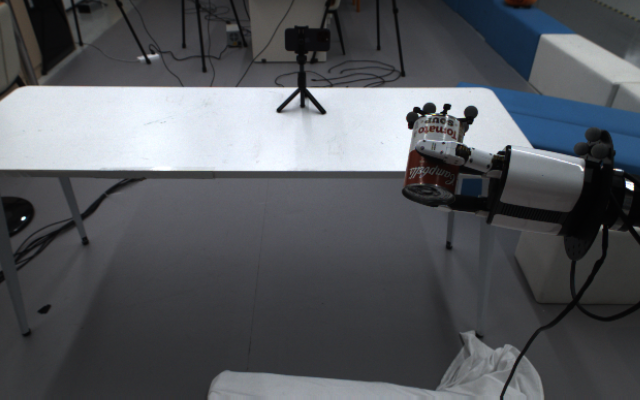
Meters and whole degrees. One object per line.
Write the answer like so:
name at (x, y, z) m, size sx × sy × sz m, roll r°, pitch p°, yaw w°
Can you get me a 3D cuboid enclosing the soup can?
soup can at (0.149, -0.054, 0.629) m, size 0.067 × 0.067 × 0.101 m, roll 9°, pitch 72°, yaw 10°
